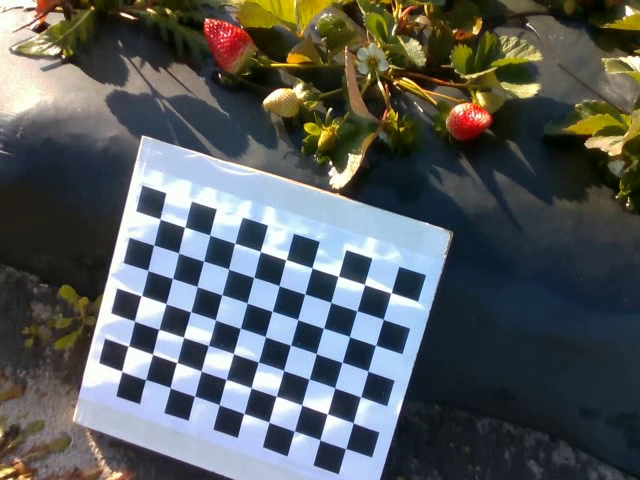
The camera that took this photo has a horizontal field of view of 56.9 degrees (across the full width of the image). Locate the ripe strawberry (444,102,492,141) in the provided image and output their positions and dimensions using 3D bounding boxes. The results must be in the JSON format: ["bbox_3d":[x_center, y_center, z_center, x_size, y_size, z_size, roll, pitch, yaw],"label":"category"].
[{"bbox_3d":[0.120,-0.092,0.458,0.042,0.037,0.045,-4,5,-22],"label":"ripe strawberry"}]

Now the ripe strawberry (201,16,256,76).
[{"bbox_3d":[-0.076,-0.161,0.484,0.053,0.044,0.036,43,8,-6],"label":"ripe strawberry"}]
